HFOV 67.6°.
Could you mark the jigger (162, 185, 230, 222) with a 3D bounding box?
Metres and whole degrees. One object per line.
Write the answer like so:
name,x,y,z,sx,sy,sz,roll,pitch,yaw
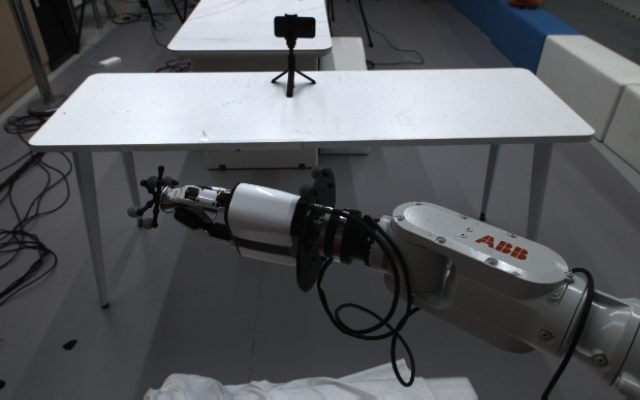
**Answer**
jigger,-0.174,0.001,0.664,0.071,0.043,0.043,10,35,16
